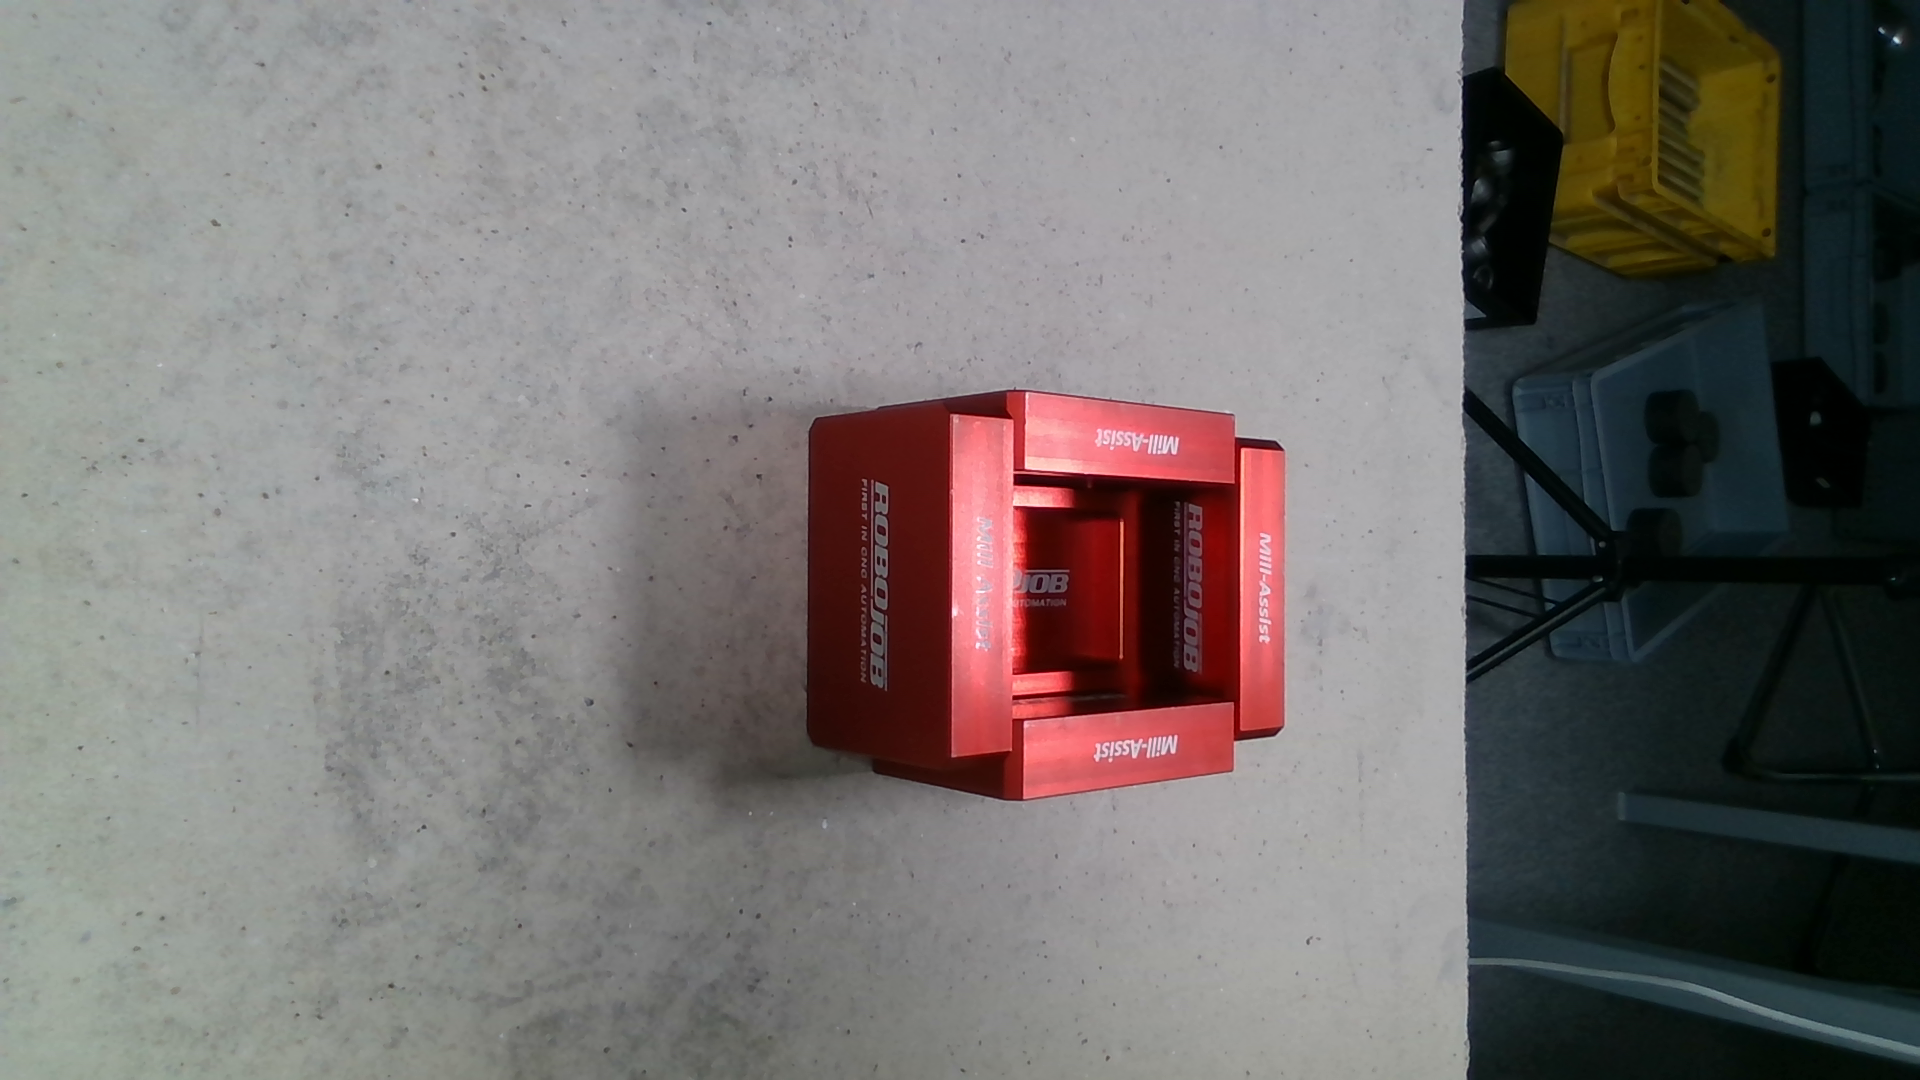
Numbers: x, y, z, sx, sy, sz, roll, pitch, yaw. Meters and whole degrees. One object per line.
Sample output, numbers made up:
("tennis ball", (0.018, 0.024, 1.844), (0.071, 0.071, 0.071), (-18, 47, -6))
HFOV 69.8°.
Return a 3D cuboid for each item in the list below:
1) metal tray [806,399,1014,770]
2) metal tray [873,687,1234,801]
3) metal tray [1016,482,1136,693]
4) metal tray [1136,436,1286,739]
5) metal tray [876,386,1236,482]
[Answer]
("metal tray", (-0.021, 0.016, 0.523), (0.030, 0.090, 0.130), (1, 90, -40))
("metal tray", (0.040, 0.081, 0.574), (0.130, 0.090, 0.030), (1, 89, -40))
("metal tray", (0.021, 0.020, 0.598), (0.130, 0.030, 0.090), (1, 89, -40))
("metal tray", (0.102, 0.021, 0.626), (0.030, 0.090, 0.130), (1, 90, -40))
("metal tray", (0.041, -0.040, 0.575), (0.130, 0.090, 0.030), (1, 89, -40))
